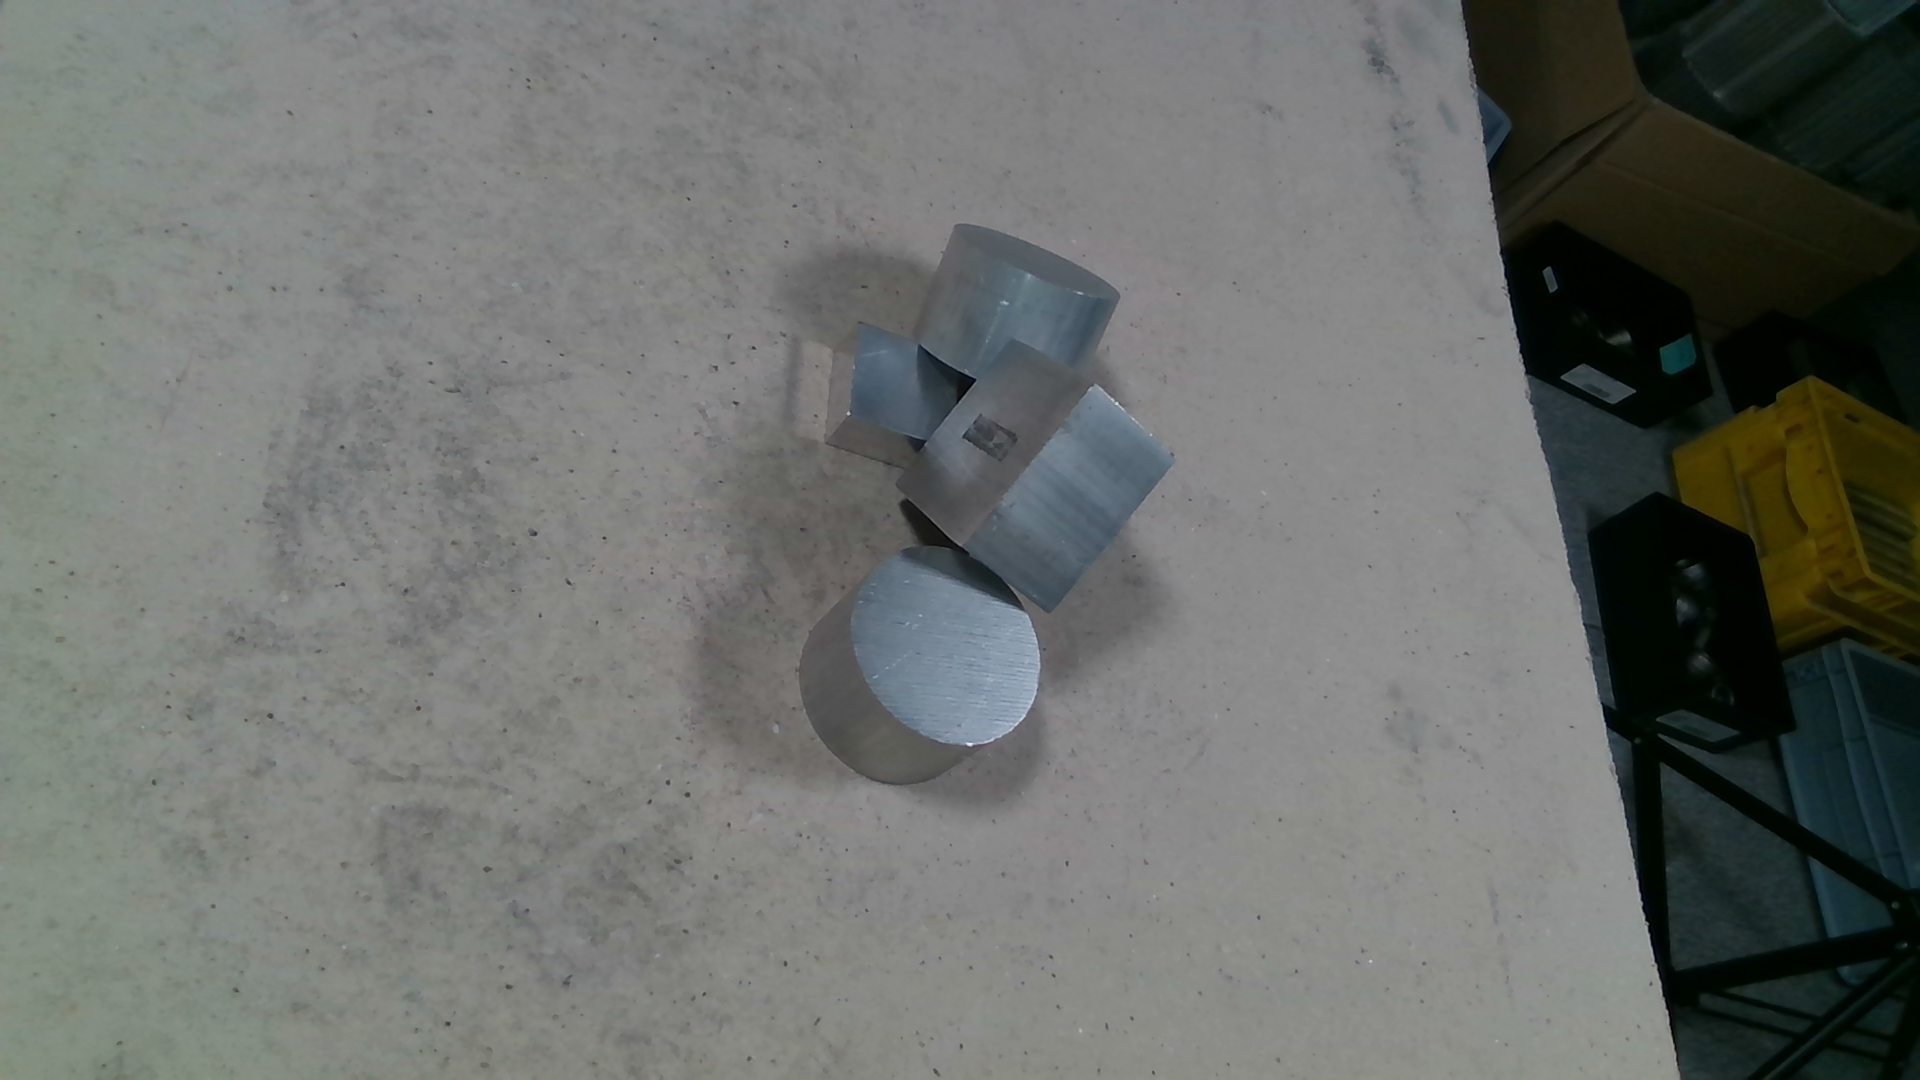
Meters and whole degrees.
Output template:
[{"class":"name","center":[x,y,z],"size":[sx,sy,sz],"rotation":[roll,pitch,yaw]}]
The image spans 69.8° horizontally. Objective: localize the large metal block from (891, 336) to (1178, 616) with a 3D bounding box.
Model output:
[{"class":"large metal block","center":[0.028,-0.028,0.559],"size":[0.050,0.080,0.080],"rotation":[38,93,-30]}]

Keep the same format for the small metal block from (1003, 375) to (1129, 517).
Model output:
[{"class":"small metal block","center":[0.049,-0.043,0.639],"size":[0.050,0.025,0.050],"rotation":[13,59,-26]}]

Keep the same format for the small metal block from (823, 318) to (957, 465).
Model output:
[{"class":"small metal block","center":[-0.030,-0.062,0.601],"size":[0.050,0.025,0.050],"rotation":[17,58,-23]}]

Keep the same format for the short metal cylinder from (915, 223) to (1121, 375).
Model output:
[{"class":"short metal cylinder","center":[0.025,-0.102,0.617],"size":[0.080,0.050,0.080],"rotation":[20,21,-8]}]

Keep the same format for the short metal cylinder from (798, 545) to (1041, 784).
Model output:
[{"class":"short metal cylinder","center":[-0.016,0.049,0.534],"size":[0.080,0.050,0.080],"rotation":[14,59,-25]}]
